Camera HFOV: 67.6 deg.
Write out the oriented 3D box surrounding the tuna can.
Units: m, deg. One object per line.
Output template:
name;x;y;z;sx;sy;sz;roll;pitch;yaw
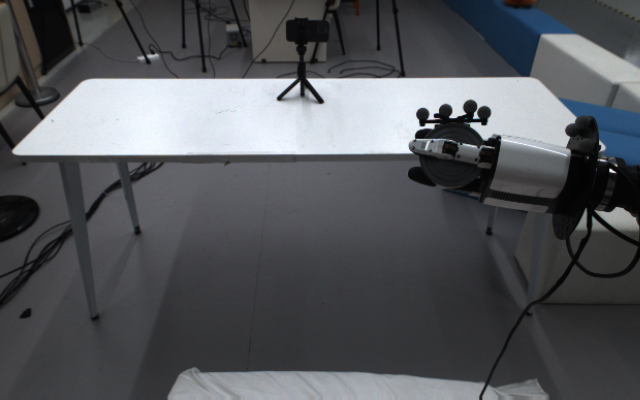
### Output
tuna can;0.178;-0.060;0.652;0.085;0.085;0.034;12;0;15
